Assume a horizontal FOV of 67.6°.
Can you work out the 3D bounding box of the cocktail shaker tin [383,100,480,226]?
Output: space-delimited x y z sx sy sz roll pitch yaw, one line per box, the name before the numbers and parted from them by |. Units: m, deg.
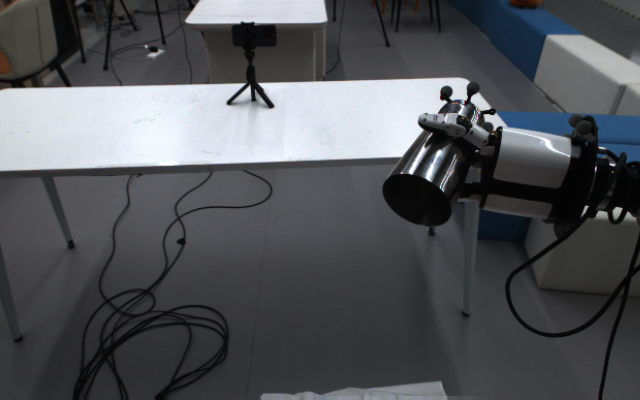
cocktail shaker tin | 0.163 -0.063 0.642 0.093 0.093 0.170 19 55 22
